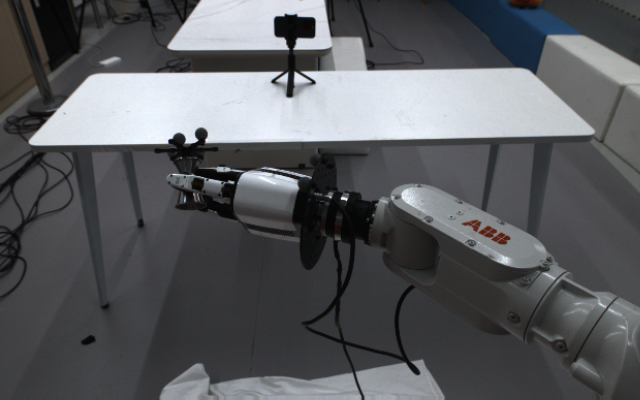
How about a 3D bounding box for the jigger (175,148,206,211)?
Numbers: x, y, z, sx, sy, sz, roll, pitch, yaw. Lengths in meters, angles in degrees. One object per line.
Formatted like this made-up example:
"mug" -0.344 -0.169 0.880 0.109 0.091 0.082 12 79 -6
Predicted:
"jigger" -0.186 -0.023 0.693 0.043 0.043 0.071 -6 78 -11
